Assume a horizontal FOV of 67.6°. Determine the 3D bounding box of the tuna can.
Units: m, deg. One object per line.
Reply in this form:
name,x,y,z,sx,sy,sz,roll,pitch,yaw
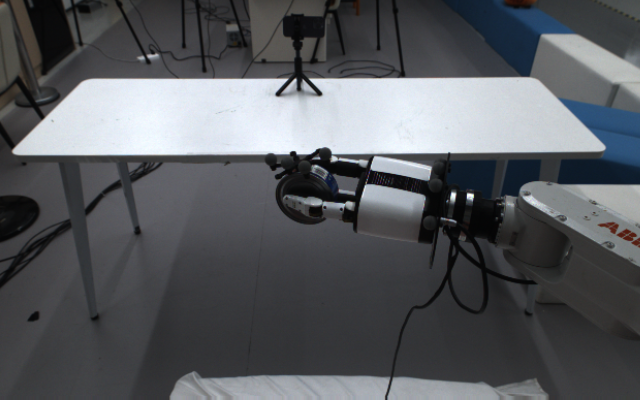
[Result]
tuna can,-0.015,-0.005,0.684,0.085,0.085,0.034,10,33,11
